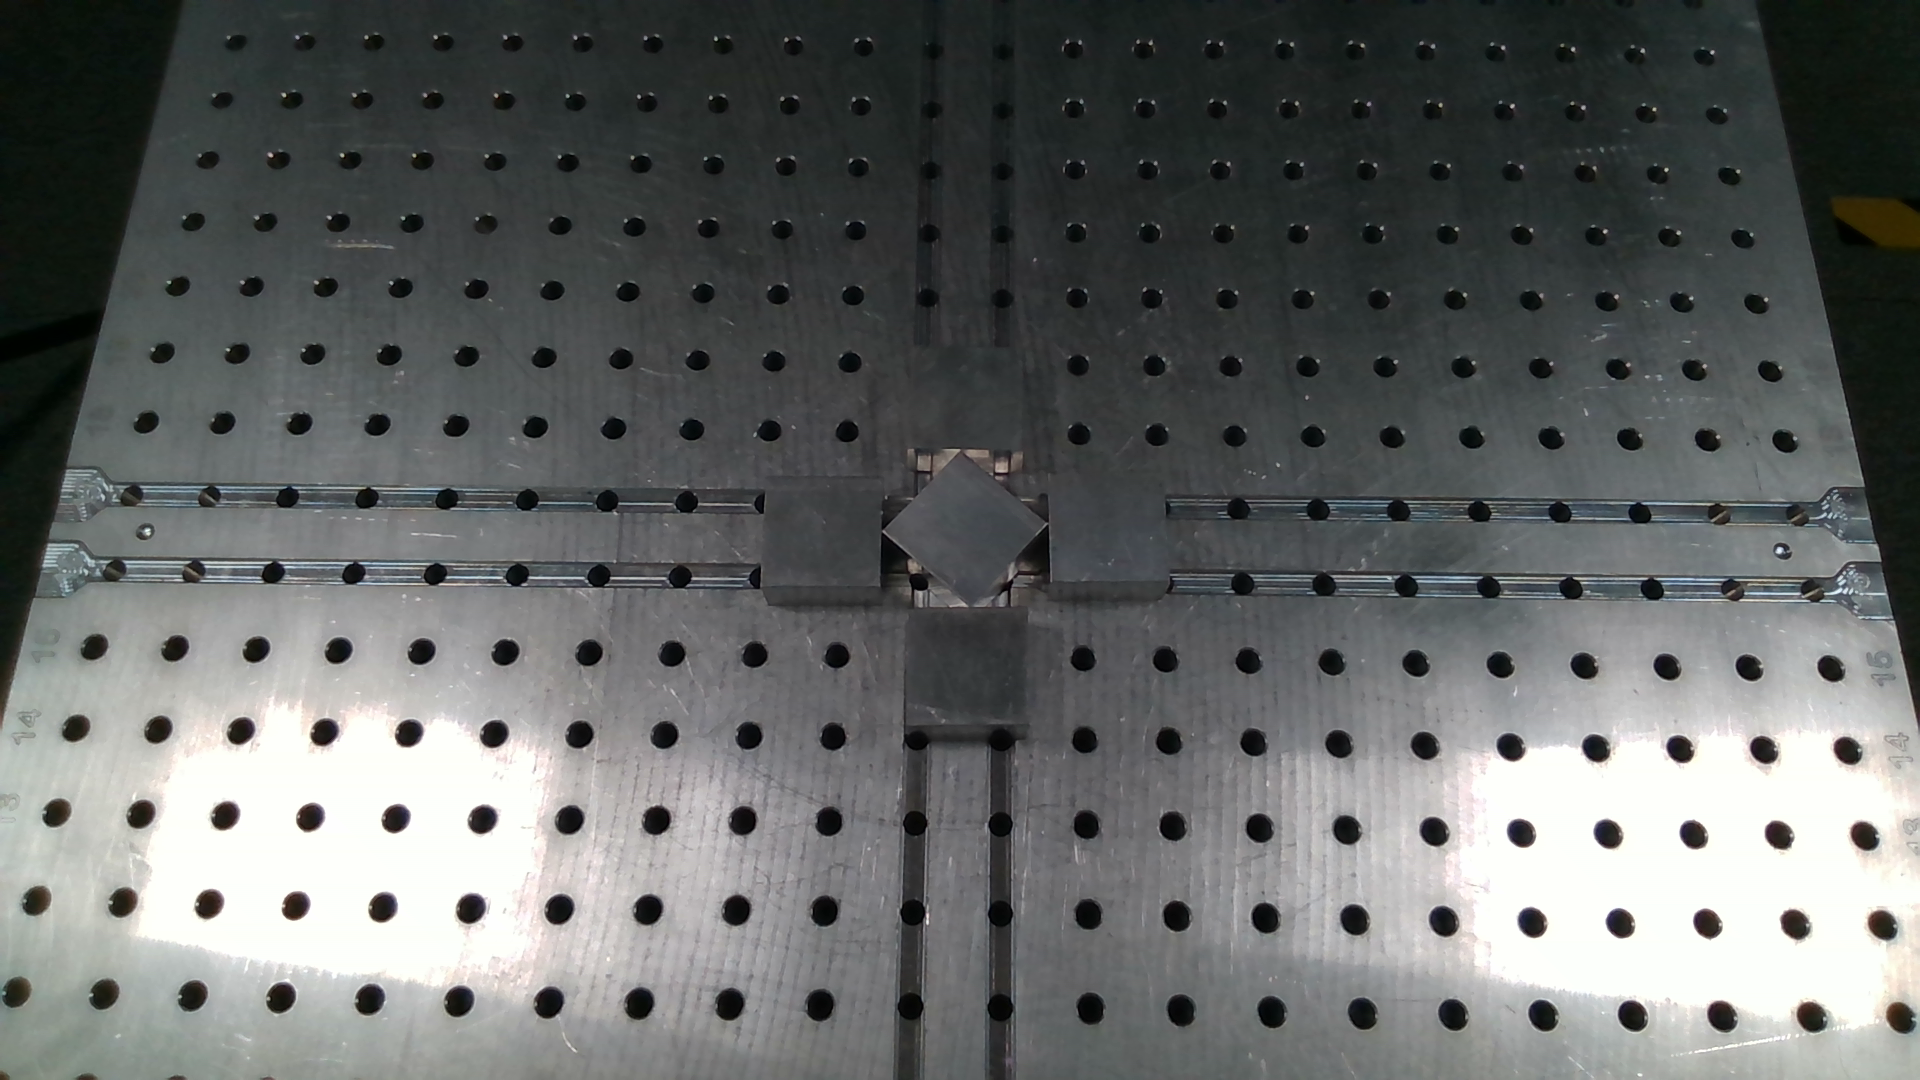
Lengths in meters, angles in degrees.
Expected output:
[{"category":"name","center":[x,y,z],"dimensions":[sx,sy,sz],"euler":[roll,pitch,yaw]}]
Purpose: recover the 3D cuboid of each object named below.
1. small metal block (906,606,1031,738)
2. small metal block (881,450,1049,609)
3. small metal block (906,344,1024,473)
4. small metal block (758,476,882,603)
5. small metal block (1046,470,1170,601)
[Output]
[{"category":"small metal block","center":[0.003,0.055,0.571],"dimensions":[0.050,0.025,0.050],"euler":[0,70,0]},{"category":"small metal block","center":[0.002,-0.001,0.591],"dimensions":[0.050,0.025,0.050],"euler":[40,75,13]},{"category":"small metal block","center":[0.002,-0.058,0.611],"dimensions":[0.050,0.025,0.050],"euler":[1,70,0]},{"category":"small metal block","center":[-0.059,0.000,0.590],"dimensions":[0.050,0.025,0.050],"euler":[0,70,0]},{"category":"small metal block","center":[0.062,-0.002,0.591],"dimensions":[0.050,0.025,0.050],"euler":[-1,70,0]}]
